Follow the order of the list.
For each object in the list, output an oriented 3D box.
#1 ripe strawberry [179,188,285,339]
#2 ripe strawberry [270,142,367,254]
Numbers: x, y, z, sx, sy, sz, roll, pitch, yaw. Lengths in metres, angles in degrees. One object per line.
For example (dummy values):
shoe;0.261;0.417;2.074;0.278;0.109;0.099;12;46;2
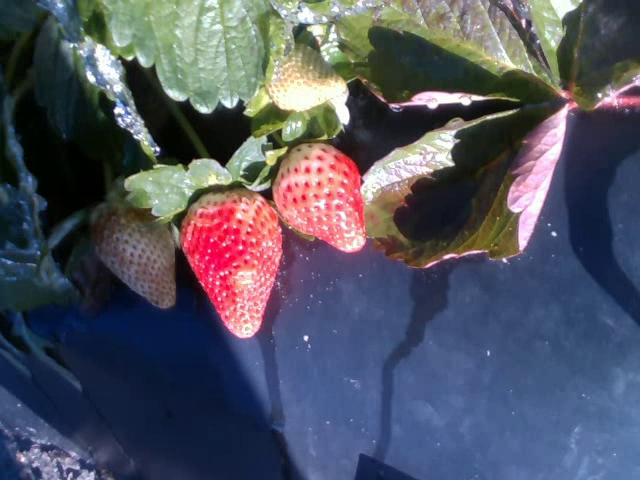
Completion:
ripe strawberry;-0.028;0.012;0.196;0.036;0.052;0.039;-18;-16;34
ripe strawberry;0.003;-0.013;0.187;0.036;0.041;0.030;-48;-2;40
